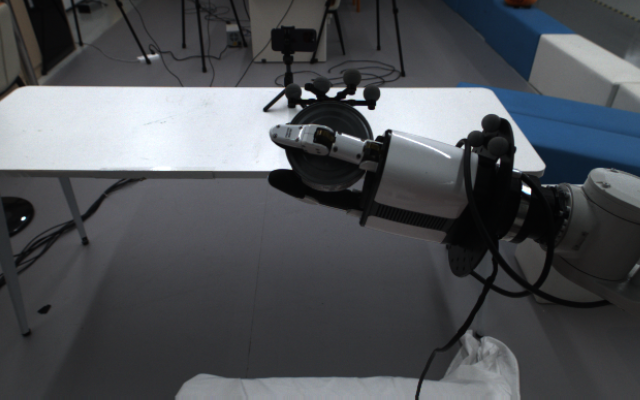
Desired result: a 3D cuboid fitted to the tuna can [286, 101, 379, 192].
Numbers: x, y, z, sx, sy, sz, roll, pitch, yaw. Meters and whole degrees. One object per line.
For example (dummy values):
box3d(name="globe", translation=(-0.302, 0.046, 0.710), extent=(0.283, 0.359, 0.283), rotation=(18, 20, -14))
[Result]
box3d(name="tuna can", translation=(0.010, -0.053, 0.482), extent=(0.085, 0.034, 0.085), rotation=(-1, 77, 4))
